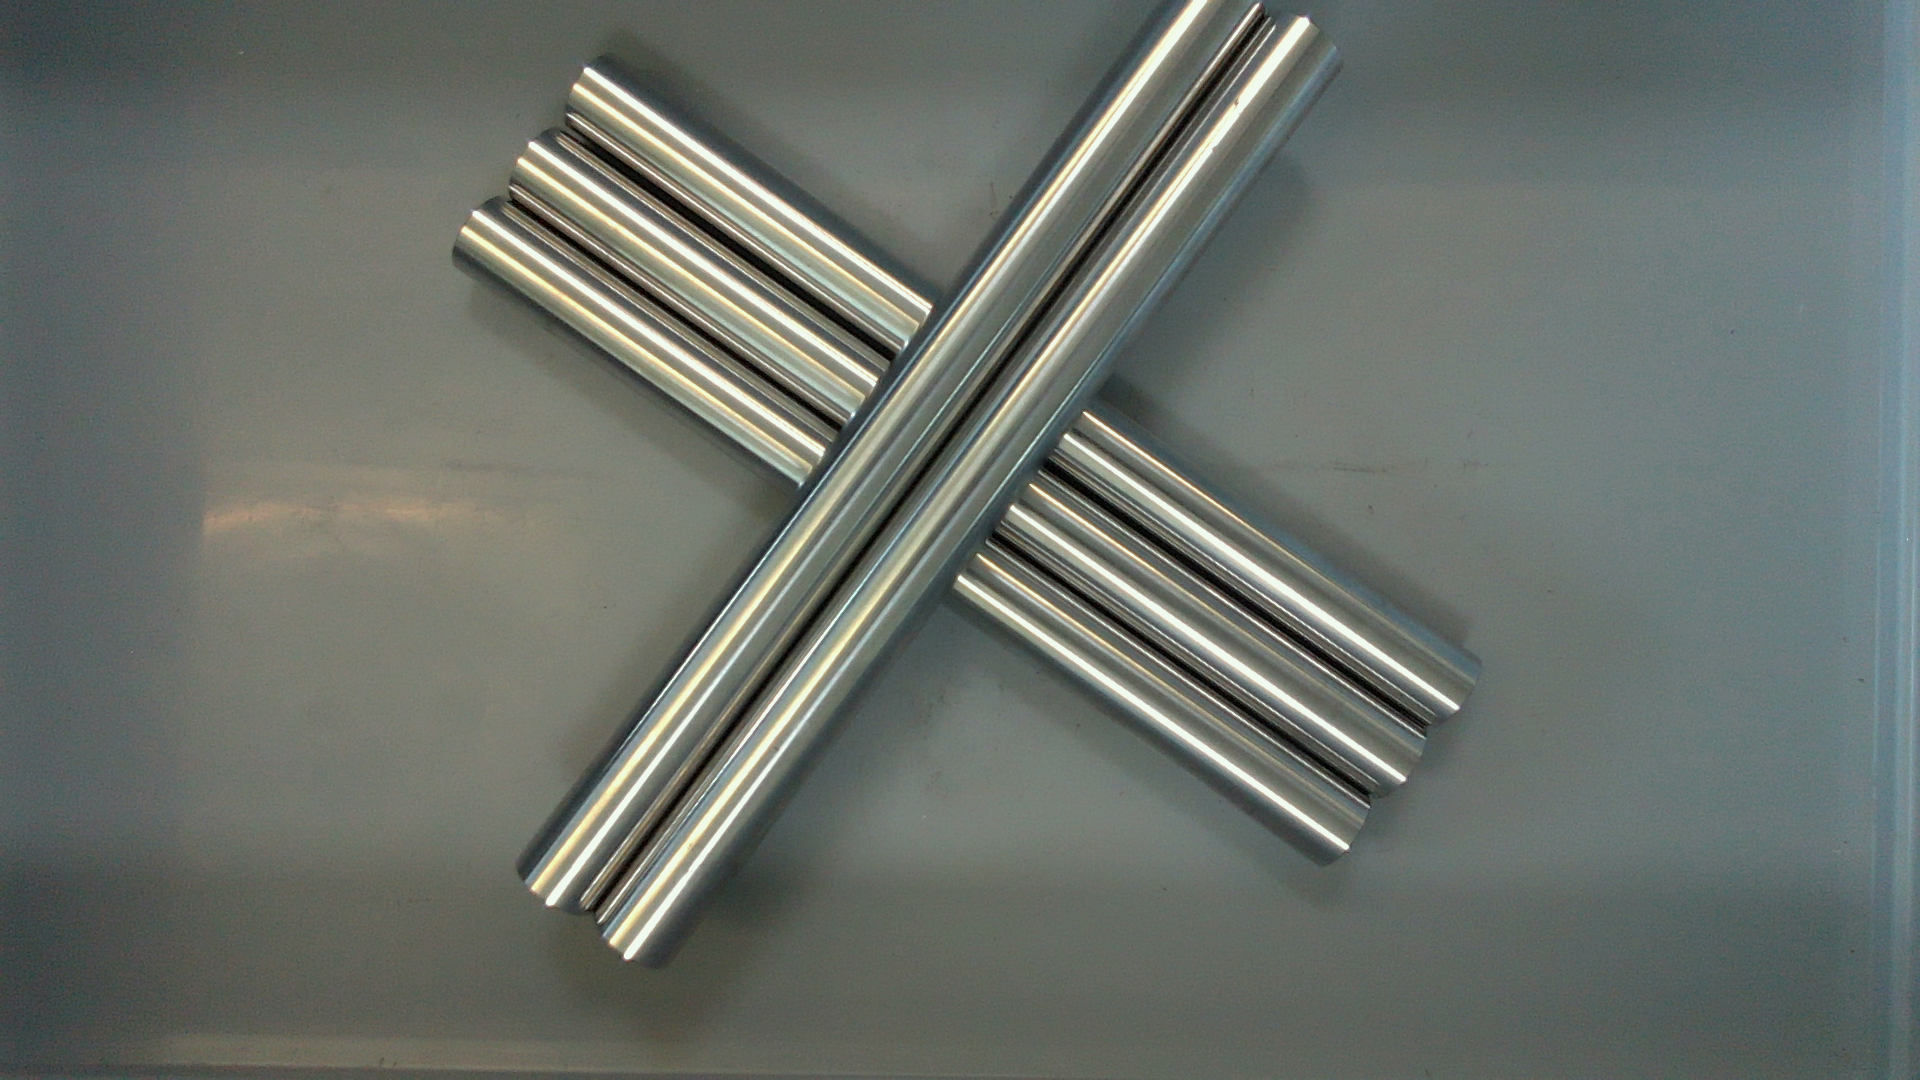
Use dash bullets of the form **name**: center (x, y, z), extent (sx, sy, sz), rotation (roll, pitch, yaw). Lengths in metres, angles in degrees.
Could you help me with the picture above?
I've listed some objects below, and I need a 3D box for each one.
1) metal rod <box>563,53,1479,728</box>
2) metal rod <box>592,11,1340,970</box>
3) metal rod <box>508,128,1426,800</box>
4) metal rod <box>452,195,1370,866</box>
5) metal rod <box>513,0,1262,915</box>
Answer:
- **metal rod**: center (0.018, -0.042, 0.394), extent (0.300, 0.025, 0.025), rotation (35, 90, 0)
- **metal rod**: center (0.002, -0.013, 0.369), extent (0.025, 0.025, 0.300), rotation (37, 90, 0)
- **metal rod**: center (0.002, -0.021, 0.394), extent (0.300, 0.025, 0.025), rotation (35, 90, 0)
- **metal rod**: center (-0.014, -0.002, 0.394), extent (0.300, 0.025, 0.025), rotation (35, 90, 0)
- **metal rod**: center (-0.019, -0.028, 0.369), extent (0.025, 0.025, 0.300), rotation (37, 90, 0)
